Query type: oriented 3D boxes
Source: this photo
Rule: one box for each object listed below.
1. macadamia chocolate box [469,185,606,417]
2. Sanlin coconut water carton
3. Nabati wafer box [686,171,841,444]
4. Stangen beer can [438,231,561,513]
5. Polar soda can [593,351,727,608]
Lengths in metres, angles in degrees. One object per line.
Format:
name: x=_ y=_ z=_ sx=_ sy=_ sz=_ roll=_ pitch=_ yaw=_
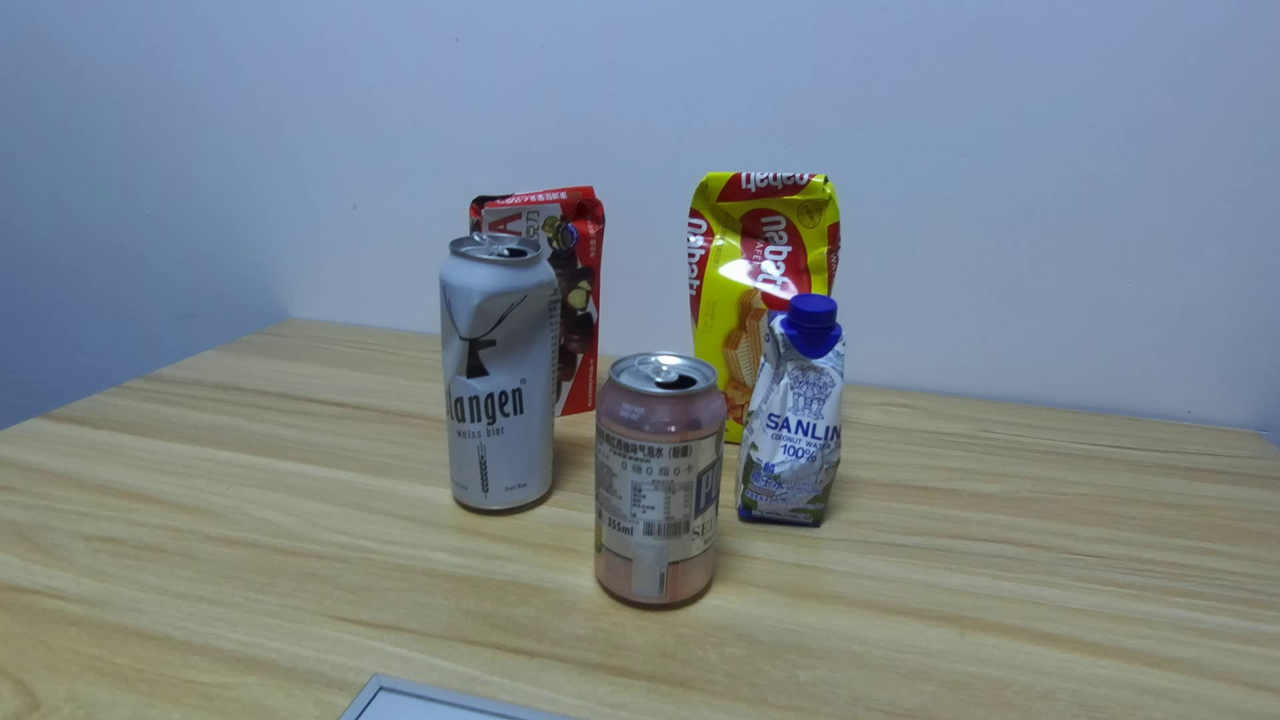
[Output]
macadamia chocolate box: x=-0.077 y=-0.040 z=0.555 sx=0.103 sy=0.187 sz=0.027 roll=-8 pitch=25 yaw=-25
Sanlin coconut water carton: x=0.100 y=0.029 z=0.449 sx=0.057 sy=0.144 sz=0.068 roll=9 pitch=13 yaw=-1
Nabati wafer box: x=0.087 y=-0.034 z=0.526 sx=0.113 sy=0.205 sz=0.042 roll=5 pitch=17 yaw=13
Stangen beer can: x=-0.088 y=0.009 z=0.443 sx=0.070 sy=0.173 sz=0.069 roll=5 pitch=21 yaw=8
Polar soda can: x=0.009 y=0.063 z=0.373 sx=0.067 sy=0.125 sz=0.067 roll=2 pitch=19 yaw=0
